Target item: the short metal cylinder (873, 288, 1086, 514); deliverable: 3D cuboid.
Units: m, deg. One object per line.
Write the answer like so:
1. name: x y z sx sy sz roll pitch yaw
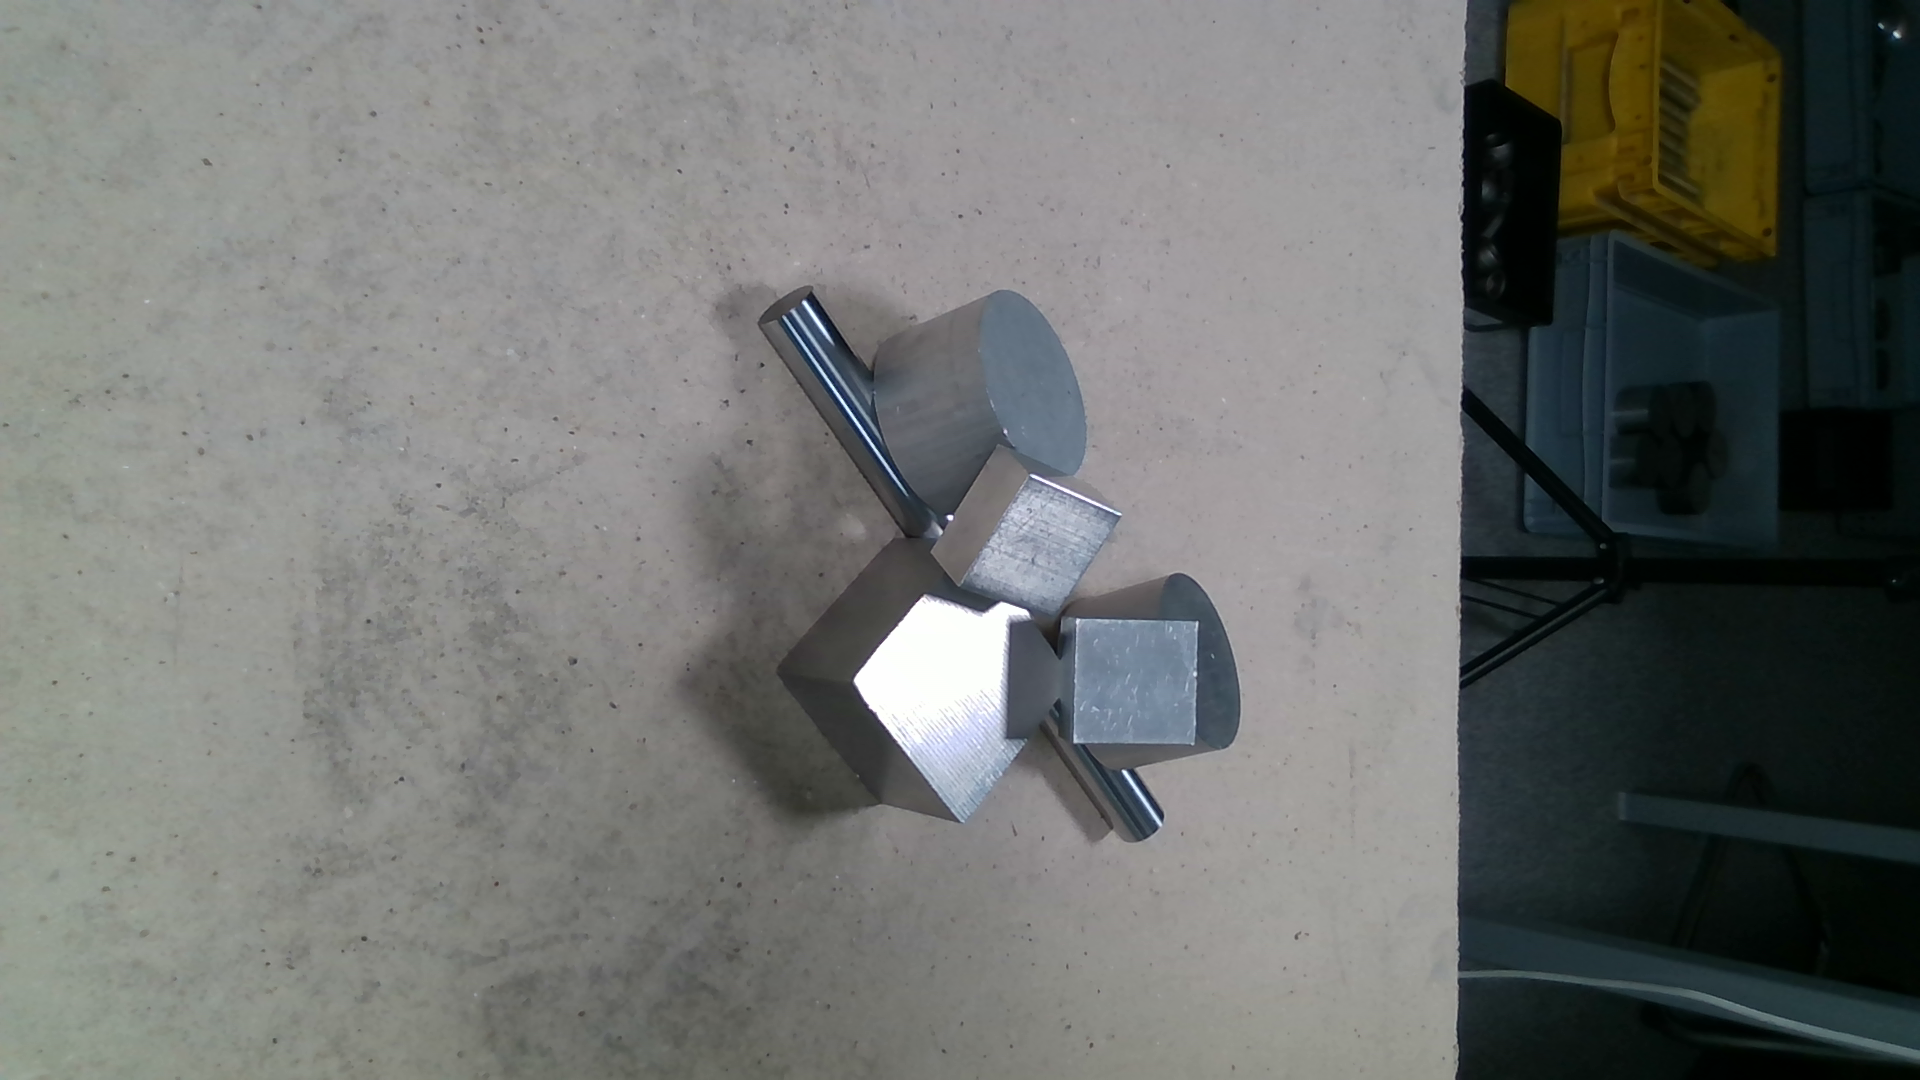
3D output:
1. short metal cylinder: 0.009 -0.055 0.556 0.080 0.050 0.080 35 46 -46

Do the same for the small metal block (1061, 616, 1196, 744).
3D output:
1. small metal block: 0.067 0.056 0.559 0.050 0.025 0.050 2 89 -10

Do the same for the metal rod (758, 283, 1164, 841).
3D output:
1. metal rod: 0.009 0.021 0.591 0.025 0.025 0.301 -49 119 -29

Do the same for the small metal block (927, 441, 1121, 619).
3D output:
1. small metal block: 0.024 -0.003 0.523 0.050 0.025 0.050 21 109 -38

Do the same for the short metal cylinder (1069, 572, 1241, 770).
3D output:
1. short metal cylinder: 0.086 0.060 0.621 0.080 0.050 0.080 35 46 -46

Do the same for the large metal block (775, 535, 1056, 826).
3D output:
1. large metal block: -0.013 0.054 0.554 0.080 0.050 0.080 -49 119 -29
